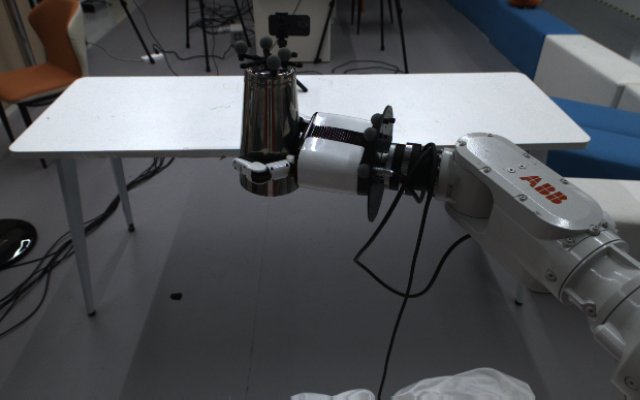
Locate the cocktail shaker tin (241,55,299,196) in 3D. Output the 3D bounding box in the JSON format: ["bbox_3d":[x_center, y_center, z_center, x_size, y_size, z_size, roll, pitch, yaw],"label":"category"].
[{"bbox_3d":[-0.068,-0.102,0.667,0.093,0.170,0.093,2,34,-2],"label":"cocktail shaker tin"}]
